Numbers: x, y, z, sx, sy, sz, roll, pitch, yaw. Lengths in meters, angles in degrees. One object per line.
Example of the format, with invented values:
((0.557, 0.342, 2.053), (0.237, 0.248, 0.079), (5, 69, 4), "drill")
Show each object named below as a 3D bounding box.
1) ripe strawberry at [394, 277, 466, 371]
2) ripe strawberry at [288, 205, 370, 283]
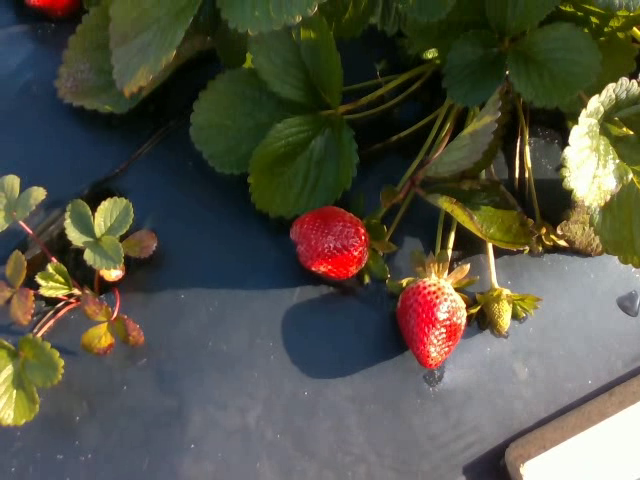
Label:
((0.059, 0.044, 0.325), (0.043, 0.053, 0.038), (20, -39, -13), "ripe strawberry")
((0.007, 0.002, 0.346), (0.054, 0.048, 0.039), (-10, 8, -34), "ripe strawberry")
